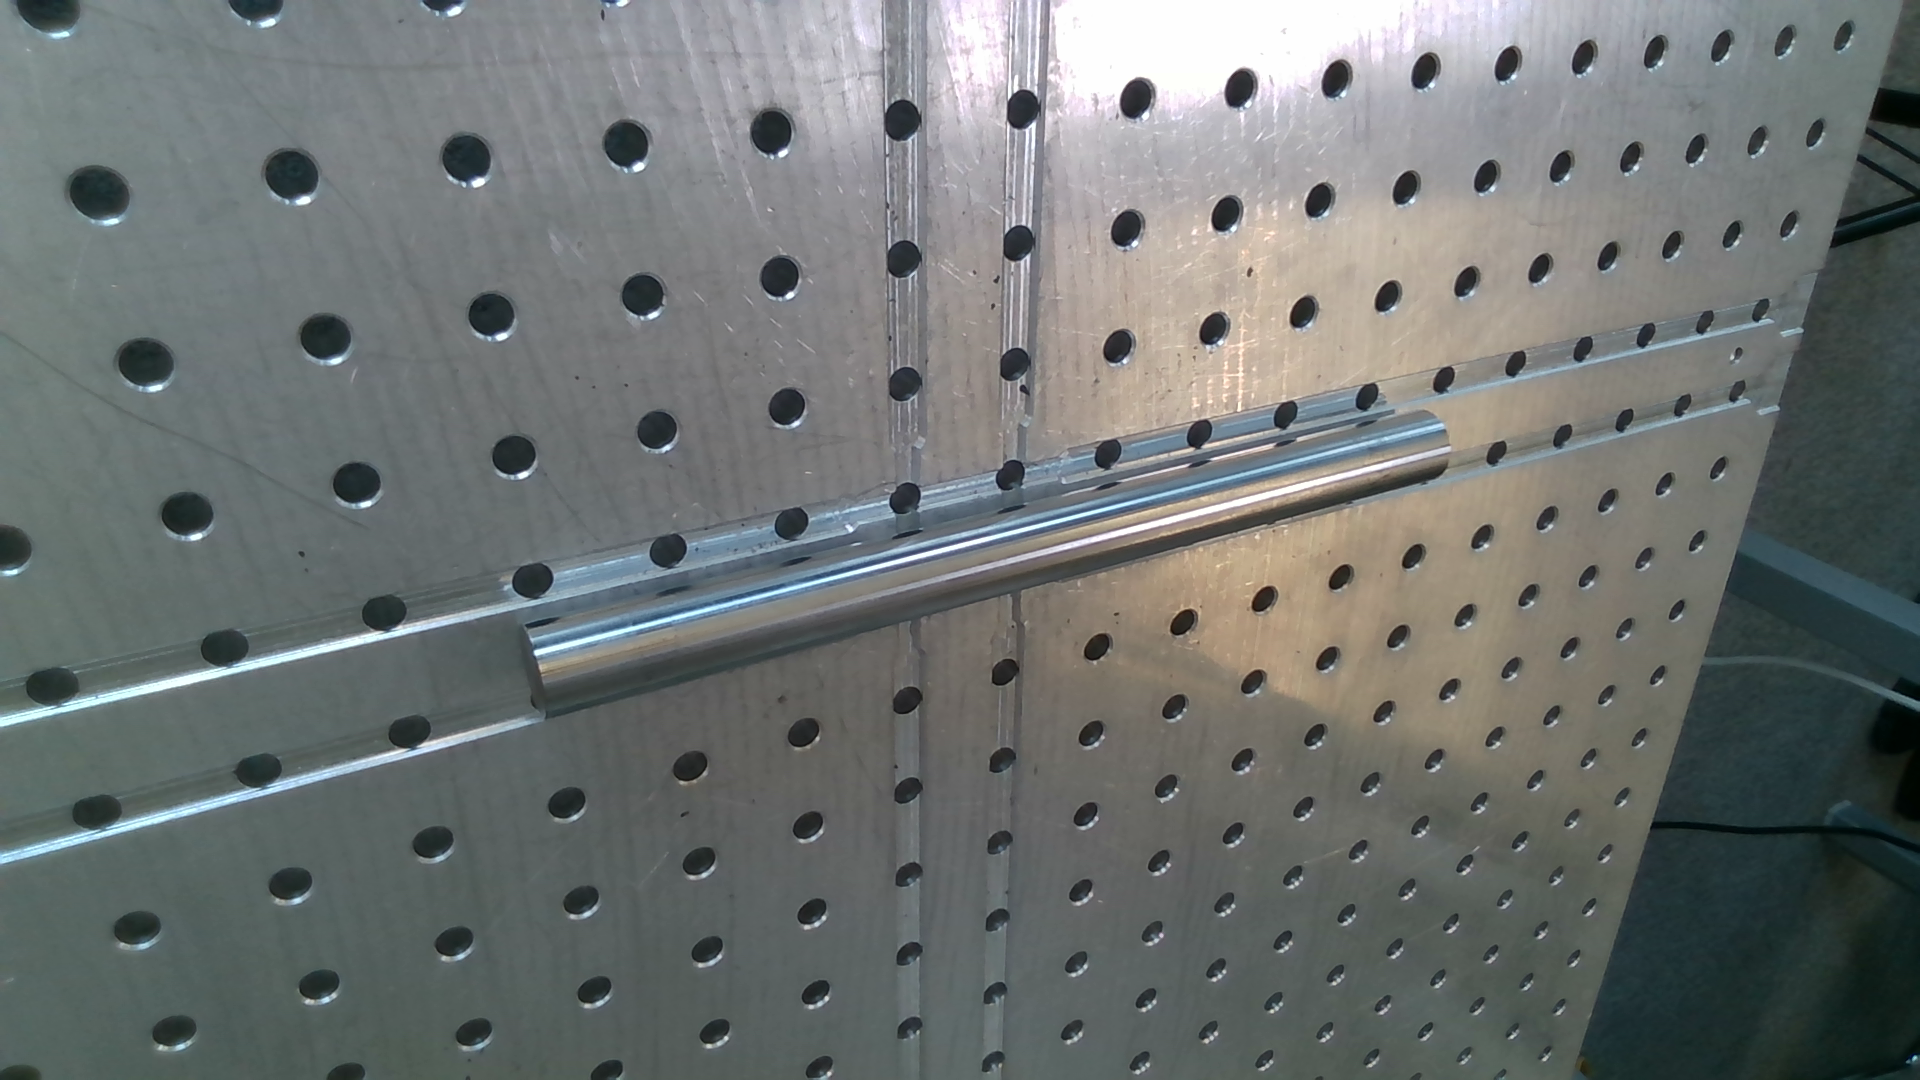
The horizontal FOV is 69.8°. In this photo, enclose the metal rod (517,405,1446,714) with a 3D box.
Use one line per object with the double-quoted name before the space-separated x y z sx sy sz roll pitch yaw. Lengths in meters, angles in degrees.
"metal rod" 0.025 -0.001 0.407 0.300 0.025 0.025 -14 121 -25
